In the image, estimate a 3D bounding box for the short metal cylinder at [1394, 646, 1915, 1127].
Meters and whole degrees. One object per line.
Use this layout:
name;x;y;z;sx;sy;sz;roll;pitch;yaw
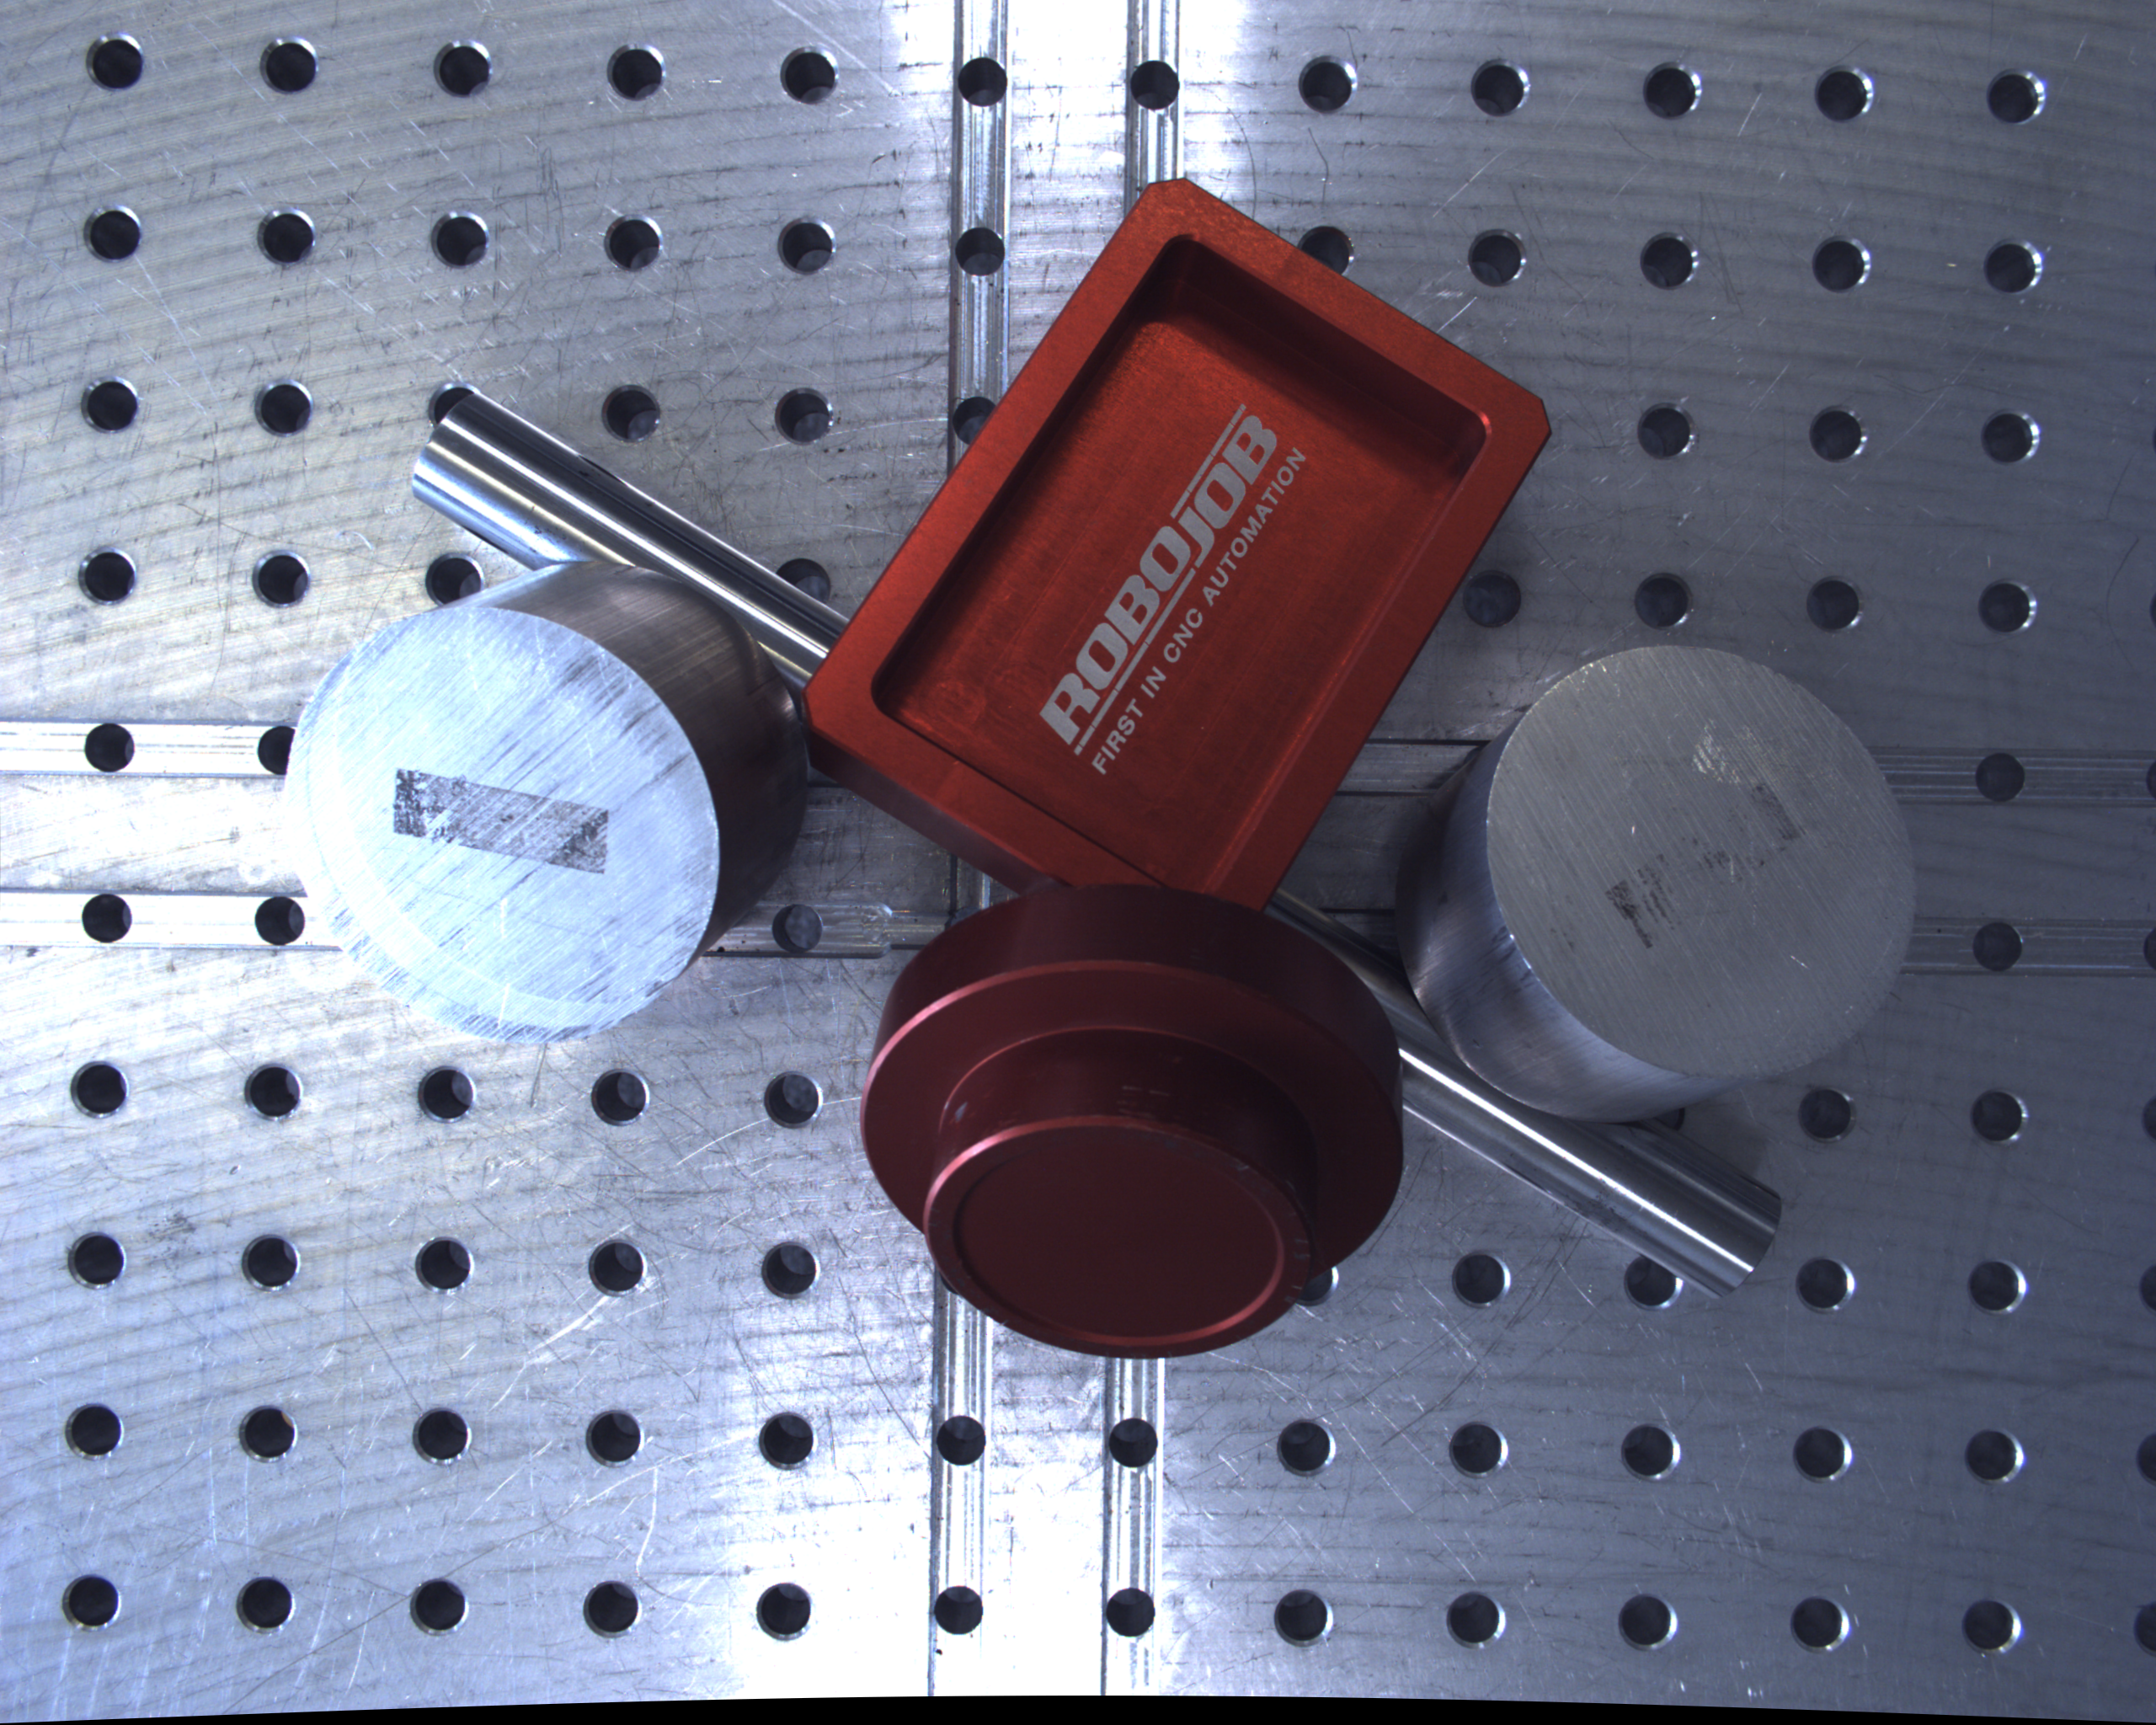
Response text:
short metal cylinder;0.105;0.006;0.390;0.081;0.050;0.080;3;73;-10

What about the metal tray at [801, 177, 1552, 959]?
metal tray;0.019;-0.054;0.396;0.090;0.030;0.130;32;77;0

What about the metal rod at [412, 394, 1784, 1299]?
metal rod;0.004;-0.003;0.413;0.301;0.025;0.025;32;90;0

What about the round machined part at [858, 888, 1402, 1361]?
round machined part;0.009;0.054;0.378;0.099;0.042;0.097;4;133;4

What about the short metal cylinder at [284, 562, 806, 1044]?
short metal cylinder;-0.097;-0.013;0.388;0.080;0.050;0.079;3;107;9
